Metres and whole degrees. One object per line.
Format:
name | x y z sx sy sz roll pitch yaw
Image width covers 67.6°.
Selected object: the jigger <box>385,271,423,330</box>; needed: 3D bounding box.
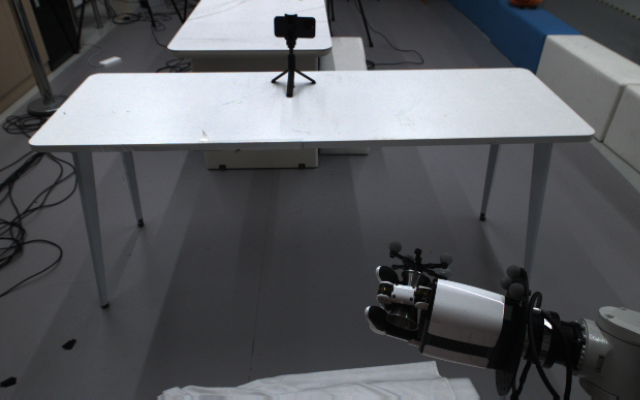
jigger | 0.122 0.131 0.640 0.043 0.043 0.071 13 57 15
